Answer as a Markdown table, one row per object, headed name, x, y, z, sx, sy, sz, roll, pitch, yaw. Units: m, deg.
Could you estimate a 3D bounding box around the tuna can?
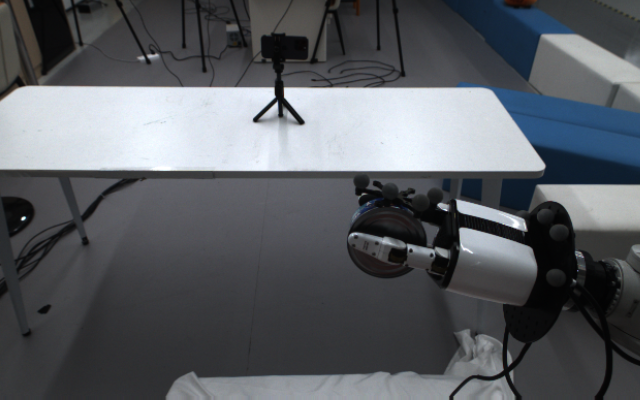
| name | x | y | z | sx | sy | sz | roll | pitch | yaw |
| --- | --- | --- | --- | --- | --- | --- | --- | --- | --- |
| tuna can | 0.075 | 0.039 | 0.536 | 0.085 | 0.085 | 0.034 | 5 | 18 | 4 |
